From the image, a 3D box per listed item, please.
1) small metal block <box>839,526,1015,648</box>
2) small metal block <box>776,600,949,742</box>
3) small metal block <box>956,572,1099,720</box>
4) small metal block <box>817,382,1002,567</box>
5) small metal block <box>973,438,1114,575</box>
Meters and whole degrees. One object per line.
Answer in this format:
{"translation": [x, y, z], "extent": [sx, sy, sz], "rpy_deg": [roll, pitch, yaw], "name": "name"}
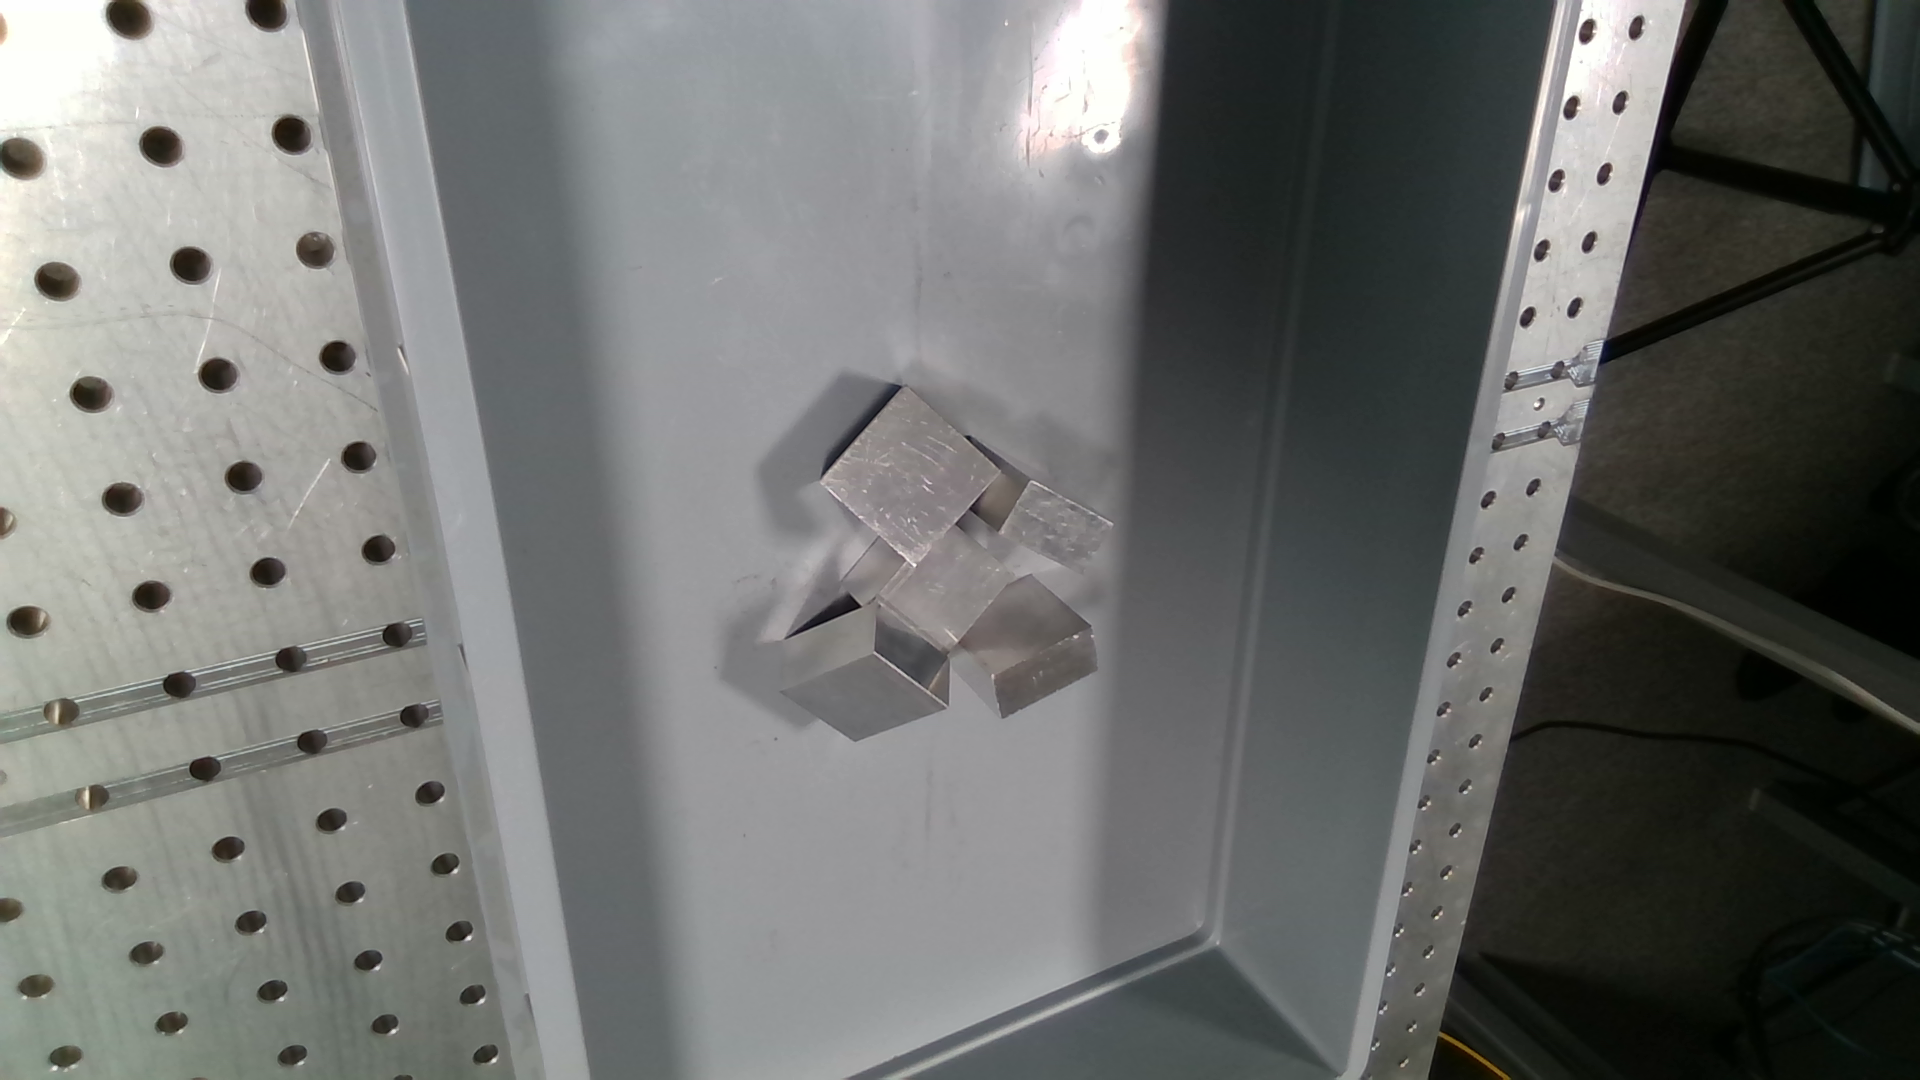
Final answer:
{"translation": [-0.013, 0.016, 0.578], "extent": [0.050, 0.025, 0.050], "rpy_deg": [-49, 129, 0], "name": "small metal block"}
{"translation": [-0.040, 0.055, 0.568], "extent": [0.050, 0.025, 0.050], "rpy_deg": [-23, 136, 27], "name": "small metal block"}
{"translation": [0.025, 0.045, 0.602], "extent": [0.050, 0.050, 0.025], "rpy_deg": [-25, 126, -19], "name": "small metal block"}
{"translation": [-0.020, -0.026, 0.538], "extent": [0.050, 0.025, 0.050], "rpy_deg": [42, 90, -6], "name": "small metal block"}
{"translation": [0.027, -0.015, 0.571], "extent": [0.050, 0.050, 0.025], "rpy_deg": [26, 99, -38], "name": "small metal block"}
